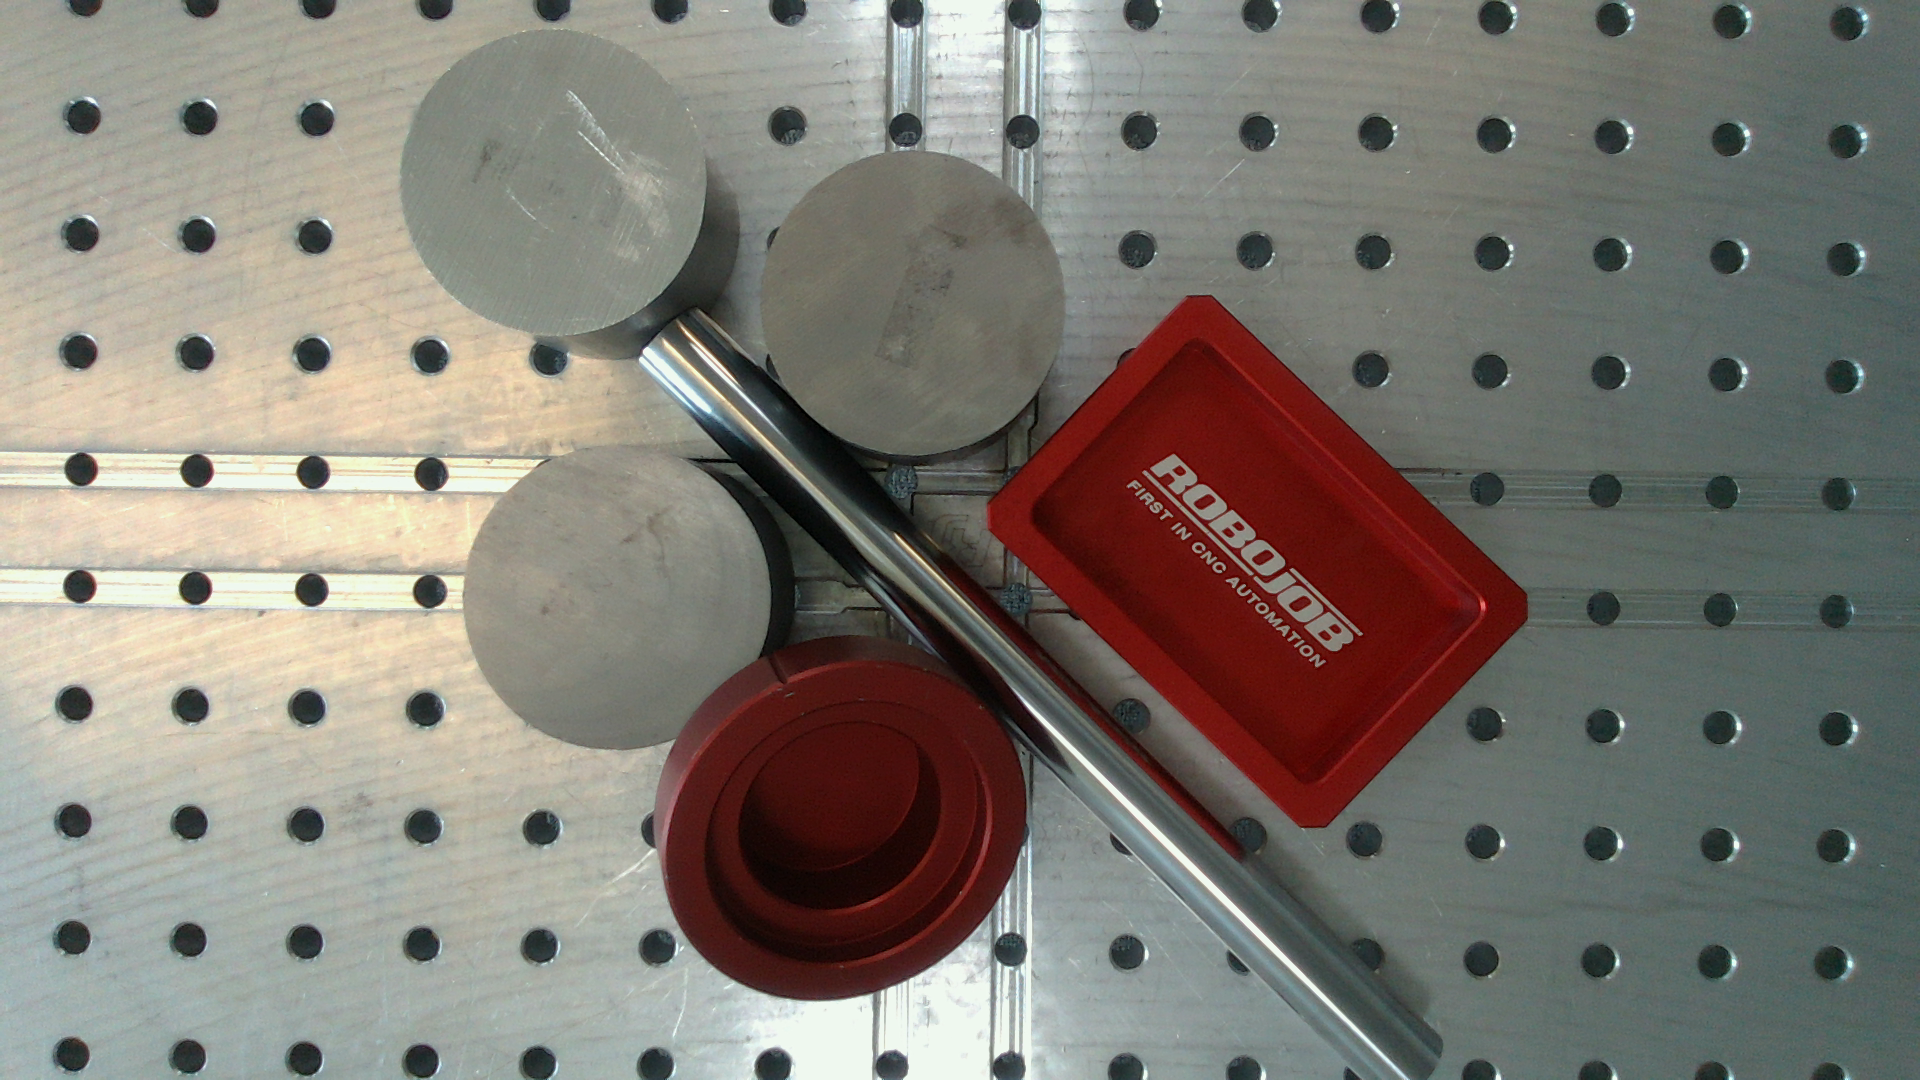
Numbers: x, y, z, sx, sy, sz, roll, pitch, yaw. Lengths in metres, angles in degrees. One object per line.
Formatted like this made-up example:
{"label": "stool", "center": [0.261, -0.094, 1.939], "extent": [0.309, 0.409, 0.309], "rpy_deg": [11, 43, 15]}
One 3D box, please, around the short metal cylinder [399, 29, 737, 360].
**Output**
{"label": "short metal cylinder", "center": [-0.107, -0.093, 0.384], "extent": [0.080, 0.050, 0.080], "rpy_deg": [0, 90, 0]}

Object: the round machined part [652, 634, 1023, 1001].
{"label": "round machined part", "center": [-0.035, 0.072, 0.379], "extent": [0.098, 0.042, 0.098], "rpy_deg": [-5, 107, -17]}

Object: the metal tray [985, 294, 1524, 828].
{"label": "metal tray", "center": [0.082, 0.006, 0.395], "extent": [0.130, 0.030, 0.090], "rpy_deg": [44, 91, 0]}

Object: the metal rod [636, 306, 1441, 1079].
{"label": "metal rod", "center": [0.023, 0.046, 0.398], "extent": [0.300, 0.025, 0.025], "rpy_deg": [44, 90, 0]}

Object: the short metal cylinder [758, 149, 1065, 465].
{"label": "short metal cylinder", "center": [-0.013, -0.062, 0.384], "extent": [0.080, 0.050, 0.080], "rpy_deg": [0, 90, 0]}

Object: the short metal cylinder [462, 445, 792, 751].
{"label": "short metal cylinder", "center": [-0.090, 0.015, 0.384], "extent": [0.080, 0.050, 0.080], "rpy_deg": [0, 90, 0]}
